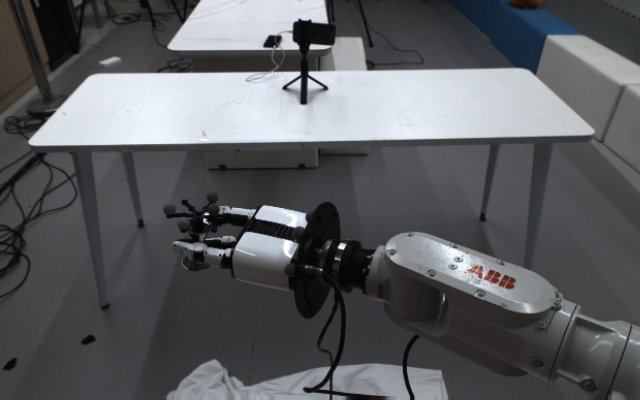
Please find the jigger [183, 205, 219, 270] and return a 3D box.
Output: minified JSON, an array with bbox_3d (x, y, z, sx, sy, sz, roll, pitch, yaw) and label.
[{"bbox_3d":[-0.180,0.065,0.715,0.043,0.071,0.043,8,31,-5],"label":"jigger"}]
